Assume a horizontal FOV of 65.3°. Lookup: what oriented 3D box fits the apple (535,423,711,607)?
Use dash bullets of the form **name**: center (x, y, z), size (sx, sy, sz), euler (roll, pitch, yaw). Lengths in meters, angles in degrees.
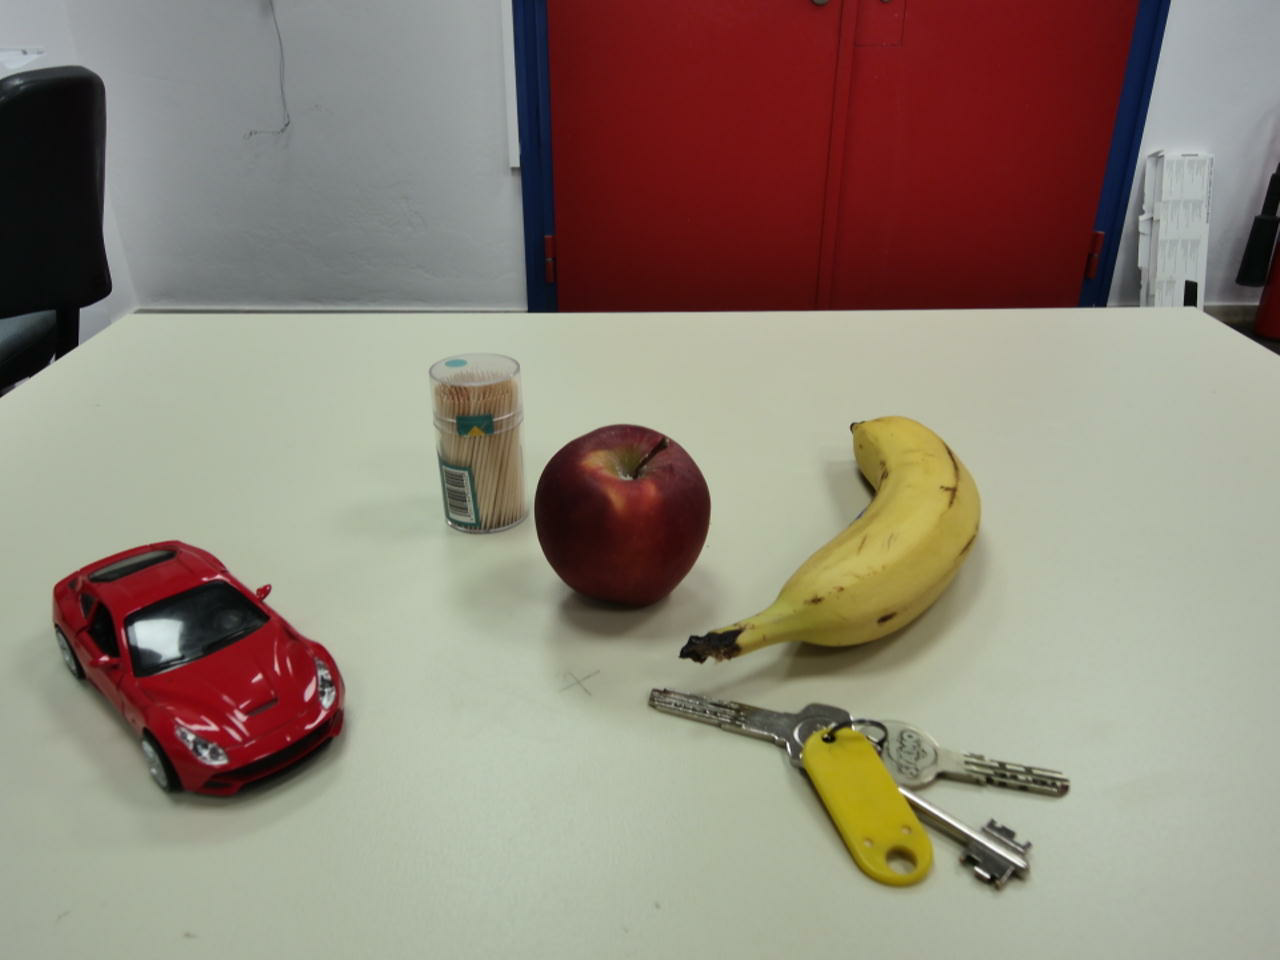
- **apple**: center (-0.007, 0.014, 0.392), size (0.070, 0.072, 0.070), euler (1, 24, 0)
